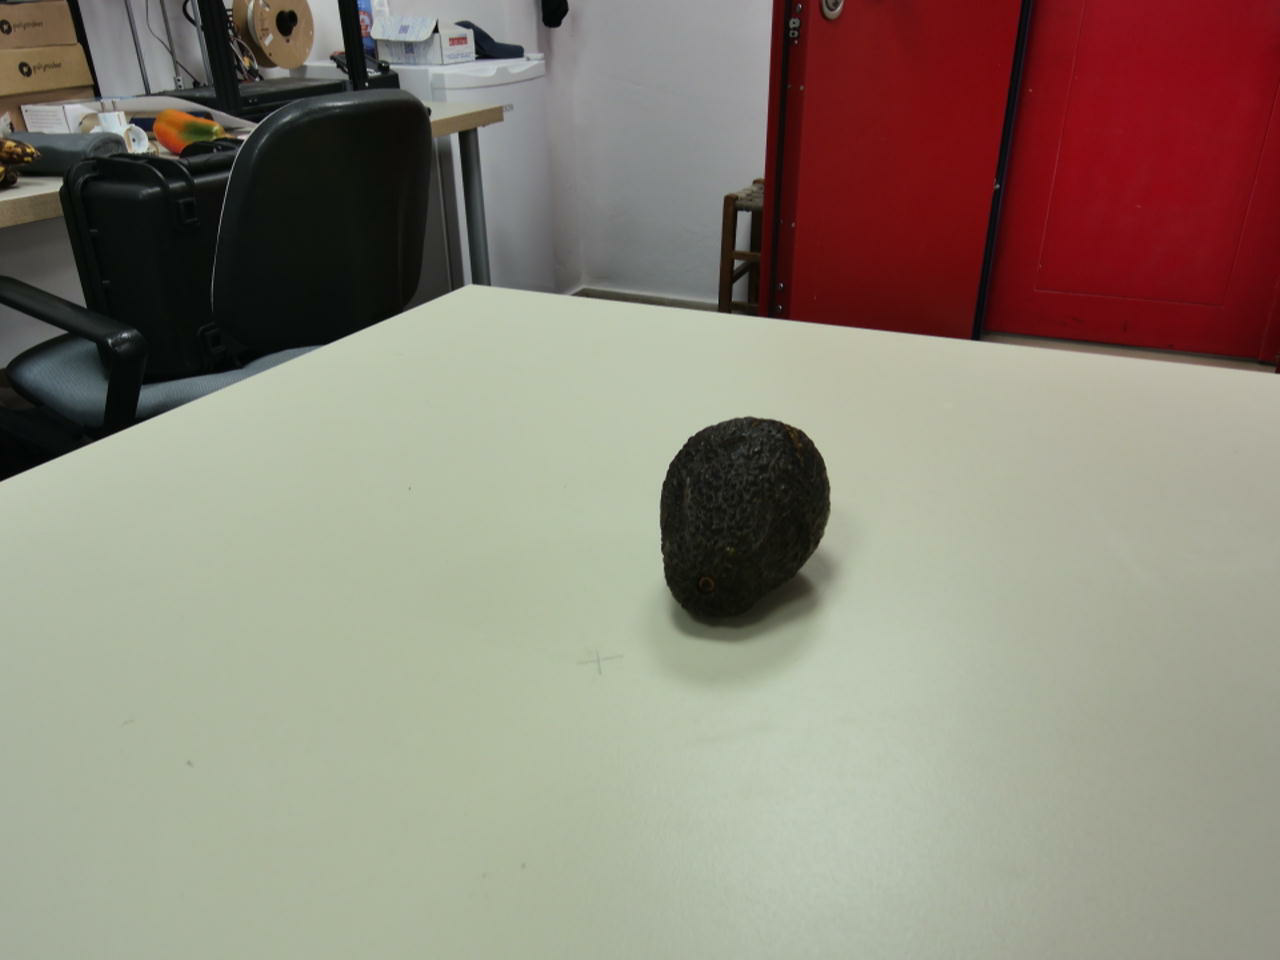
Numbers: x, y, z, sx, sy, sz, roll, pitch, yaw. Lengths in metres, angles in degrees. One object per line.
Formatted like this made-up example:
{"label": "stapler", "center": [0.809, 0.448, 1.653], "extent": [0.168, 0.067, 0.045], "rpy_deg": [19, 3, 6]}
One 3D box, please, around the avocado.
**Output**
{"label": "avocado", "center": [0.040, 0.011, 0.416], "extent": [0.090, 0.069, 0.070], "rpy_deg": [-18, 29, -35]}
